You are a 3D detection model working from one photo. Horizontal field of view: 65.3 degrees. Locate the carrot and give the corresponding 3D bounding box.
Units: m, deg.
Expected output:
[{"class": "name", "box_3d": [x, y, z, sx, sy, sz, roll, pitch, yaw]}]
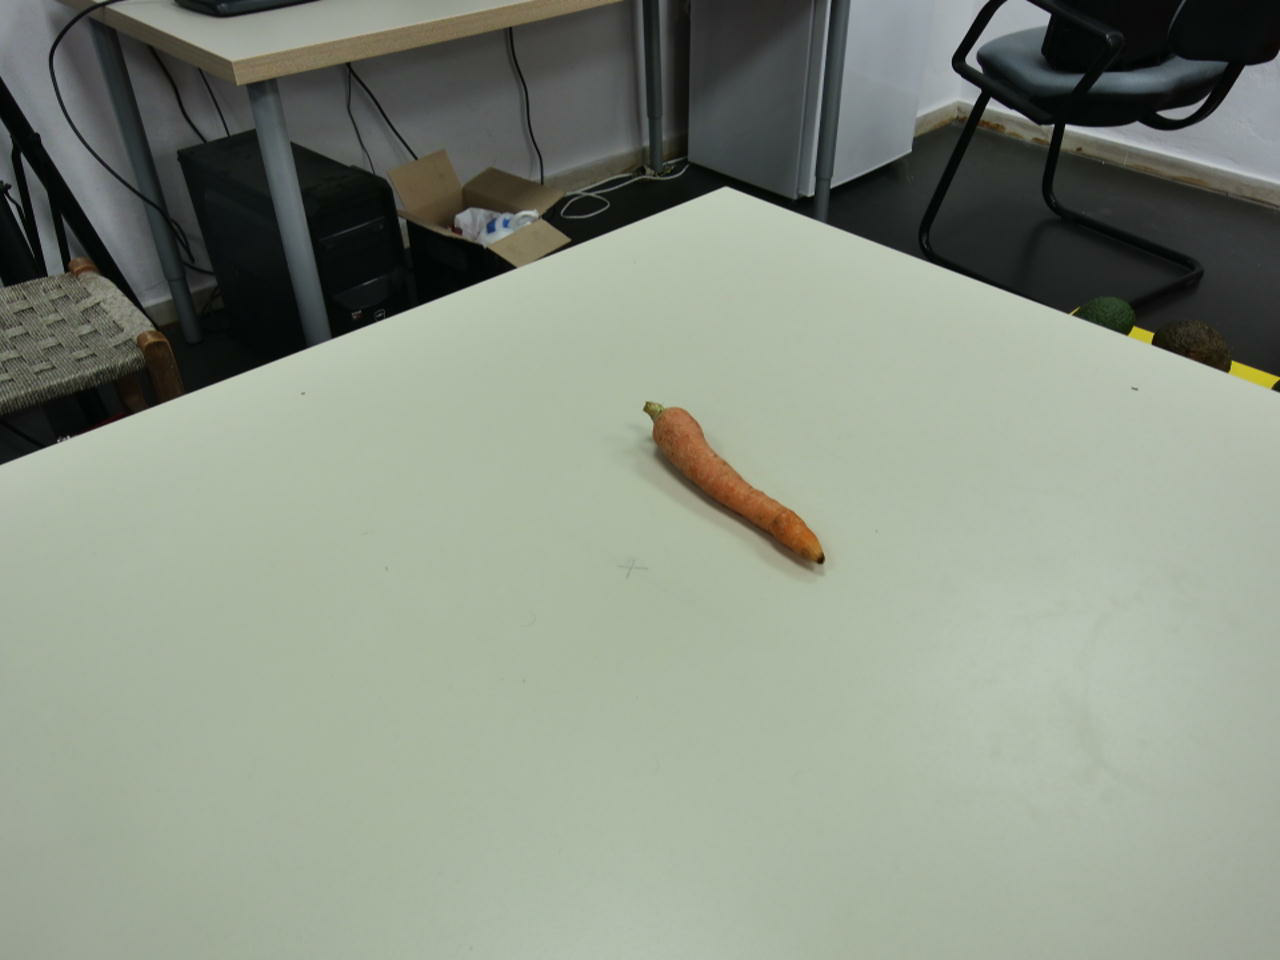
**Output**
[{"class": "carrot", "box_3d": [0.054, -0.002, 0.615, 0.030, 0.032, 0.173, -21, 41, -25]}]
